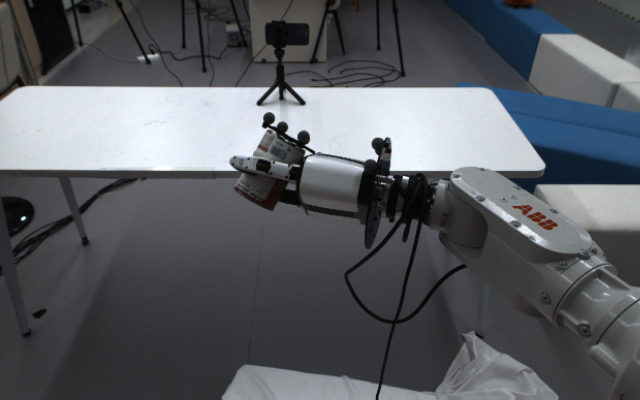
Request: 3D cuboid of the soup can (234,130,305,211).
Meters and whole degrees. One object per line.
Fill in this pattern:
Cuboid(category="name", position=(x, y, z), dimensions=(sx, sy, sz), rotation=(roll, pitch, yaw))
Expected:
Cuboid(category="soup can", position=(-0.074, -0.043, 0.717), dimensions=(0.067, 0.101, 0.067), rotation=(30, 2, -1))
